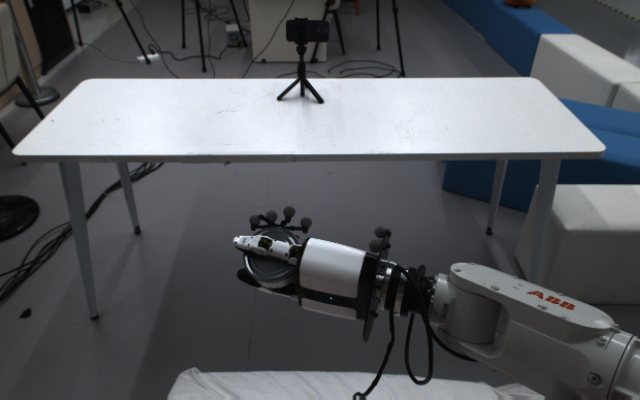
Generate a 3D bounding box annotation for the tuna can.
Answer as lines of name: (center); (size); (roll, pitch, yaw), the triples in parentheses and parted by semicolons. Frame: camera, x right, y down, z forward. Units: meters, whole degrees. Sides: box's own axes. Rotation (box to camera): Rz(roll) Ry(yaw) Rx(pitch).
tuna can: (-0.066, 0.085, 0.707); (0.085, 0.034, 0.085); (-3, 61, 6)
